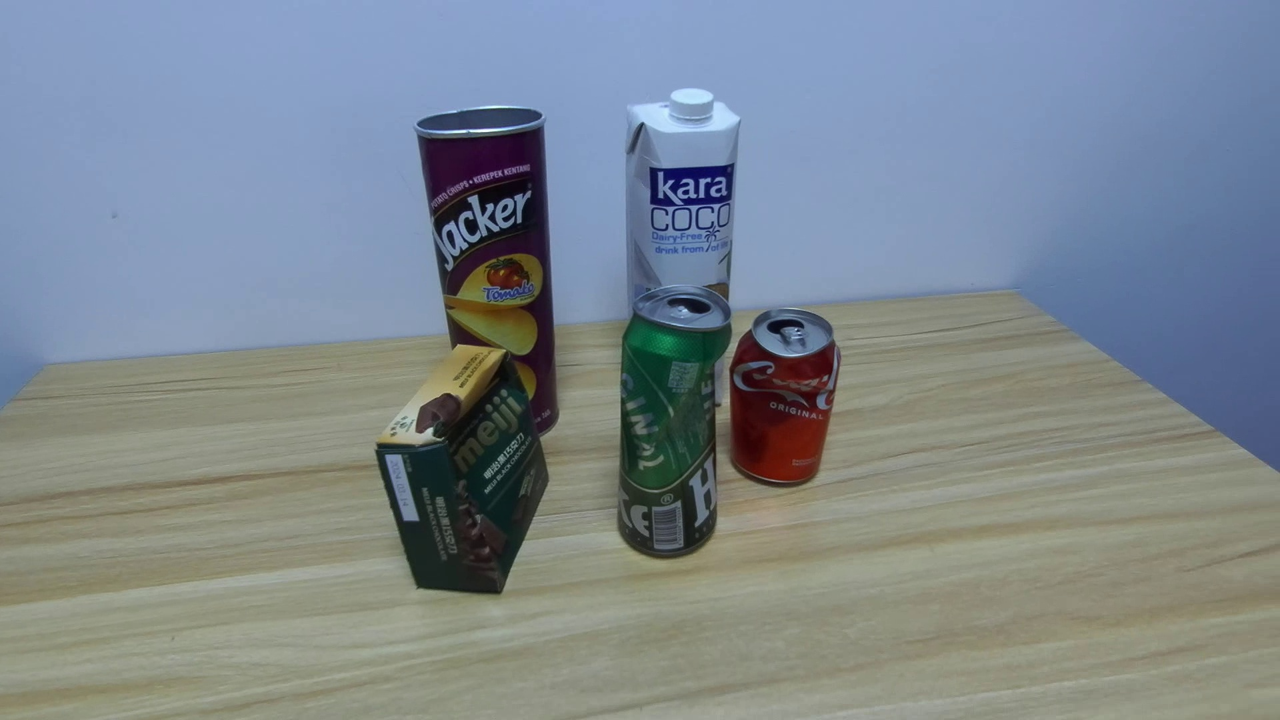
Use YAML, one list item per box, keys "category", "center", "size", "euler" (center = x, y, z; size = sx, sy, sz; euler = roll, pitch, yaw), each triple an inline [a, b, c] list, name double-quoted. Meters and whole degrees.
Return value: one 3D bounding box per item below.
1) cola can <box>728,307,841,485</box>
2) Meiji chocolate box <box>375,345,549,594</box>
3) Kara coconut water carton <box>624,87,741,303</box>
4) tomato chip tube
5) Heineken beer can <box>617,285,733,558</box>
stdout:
- category: "cola can"
  center: [0.103, 0.026, 0.496]
  size: [0.072, 0.117, 0.065]
  euler: [19, 36, 28]
- category: "Meiji chocolate box"
  center: [-0.105, 0.067, 0.441]
  size: [0.058, 0.111, 0.113]
  euler: [-3, 28, 9]
- category: "Kara coconut water carton"
  center: [0.030, -0.080, 0.542]
  size: [0.077, 0.245, 0.075]
  euler: [-5, 31, -8]
- category: "tomato chip tube"
  center: [-0.102, -0.054, 0.514]
  size: [0.080, 0.234, 0.076]
  euler: [3, 31, 4]
- category: "Heineken beer can"
  center: [0.018, 0.041, 0.426]
  size: [0.078, 0.164, 0.066]
  euler: [-9, 33, -21]
